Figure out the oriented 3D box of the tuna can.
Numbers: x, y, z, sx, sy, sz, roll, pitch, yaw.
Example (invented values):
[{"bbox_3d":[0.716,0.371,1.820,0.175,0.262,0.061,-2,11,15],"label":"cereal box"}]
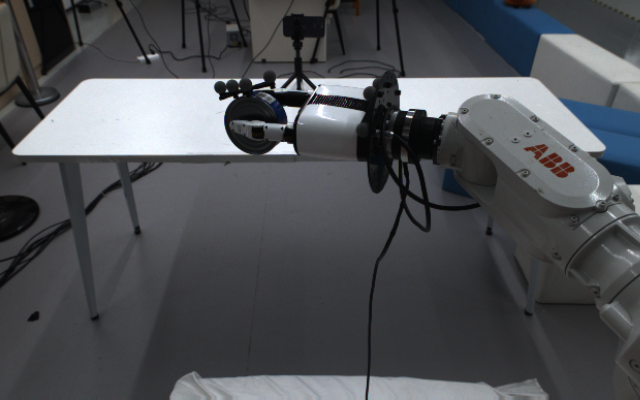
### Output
[{"bbox_3d":[-0.087,-0.110,0.689,0.085,0.085,0.034,13,29,15],"label":"tuna can"}]
